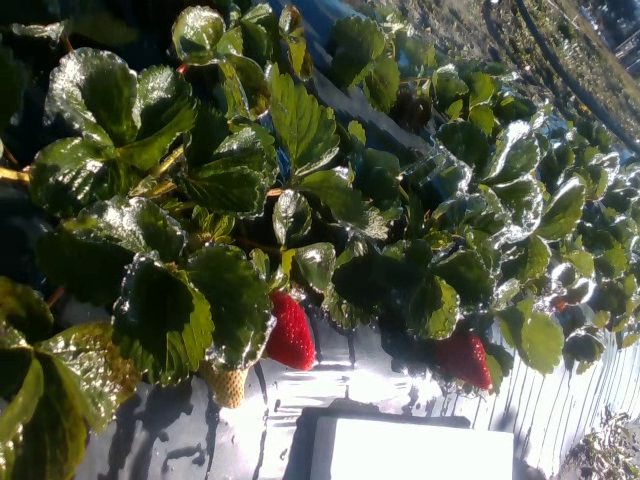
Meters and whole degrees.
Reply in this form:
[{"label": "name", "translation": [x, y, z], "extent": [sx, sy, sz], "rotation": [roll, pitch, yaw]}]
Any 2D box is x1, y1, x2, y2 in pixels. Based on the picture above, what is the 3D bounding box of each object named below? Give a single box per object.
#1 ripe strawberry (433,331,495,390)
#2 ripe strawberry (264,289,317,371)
[{"label": "ripe strawberry", "translation": [0.137, 0.111, 0.532], "extent": [0.048, 0.061, 0.044], "rotation": [12, -44, -46]}, {"label": "ripe strawberry", "translation": [-0.022, 0.064, 0.374], "extent": [0.042, 0.046, 0.061], "rotation": [1, 44, -47]}]
